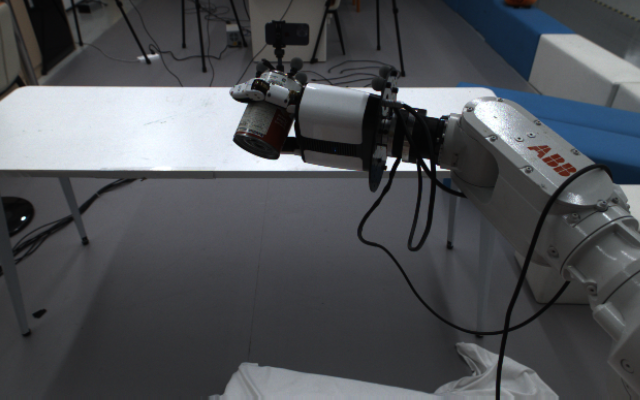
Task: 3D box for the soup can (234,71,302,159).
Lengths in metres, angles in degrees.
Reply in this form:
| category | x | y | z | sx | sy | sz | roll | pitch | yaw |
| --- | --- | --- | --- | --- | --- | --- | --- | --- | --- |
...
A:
| category | x | y | z | sx | sy | sz | roll | pitch | yaw |
| --- | --- | --- | --- | --- | --- | --- | --- | --- | --- |
| soup can | -0.068 | -0.115 | 0.656 | 0.067 | 0.067 | 0.101 | 16 | 75 | 19 |
